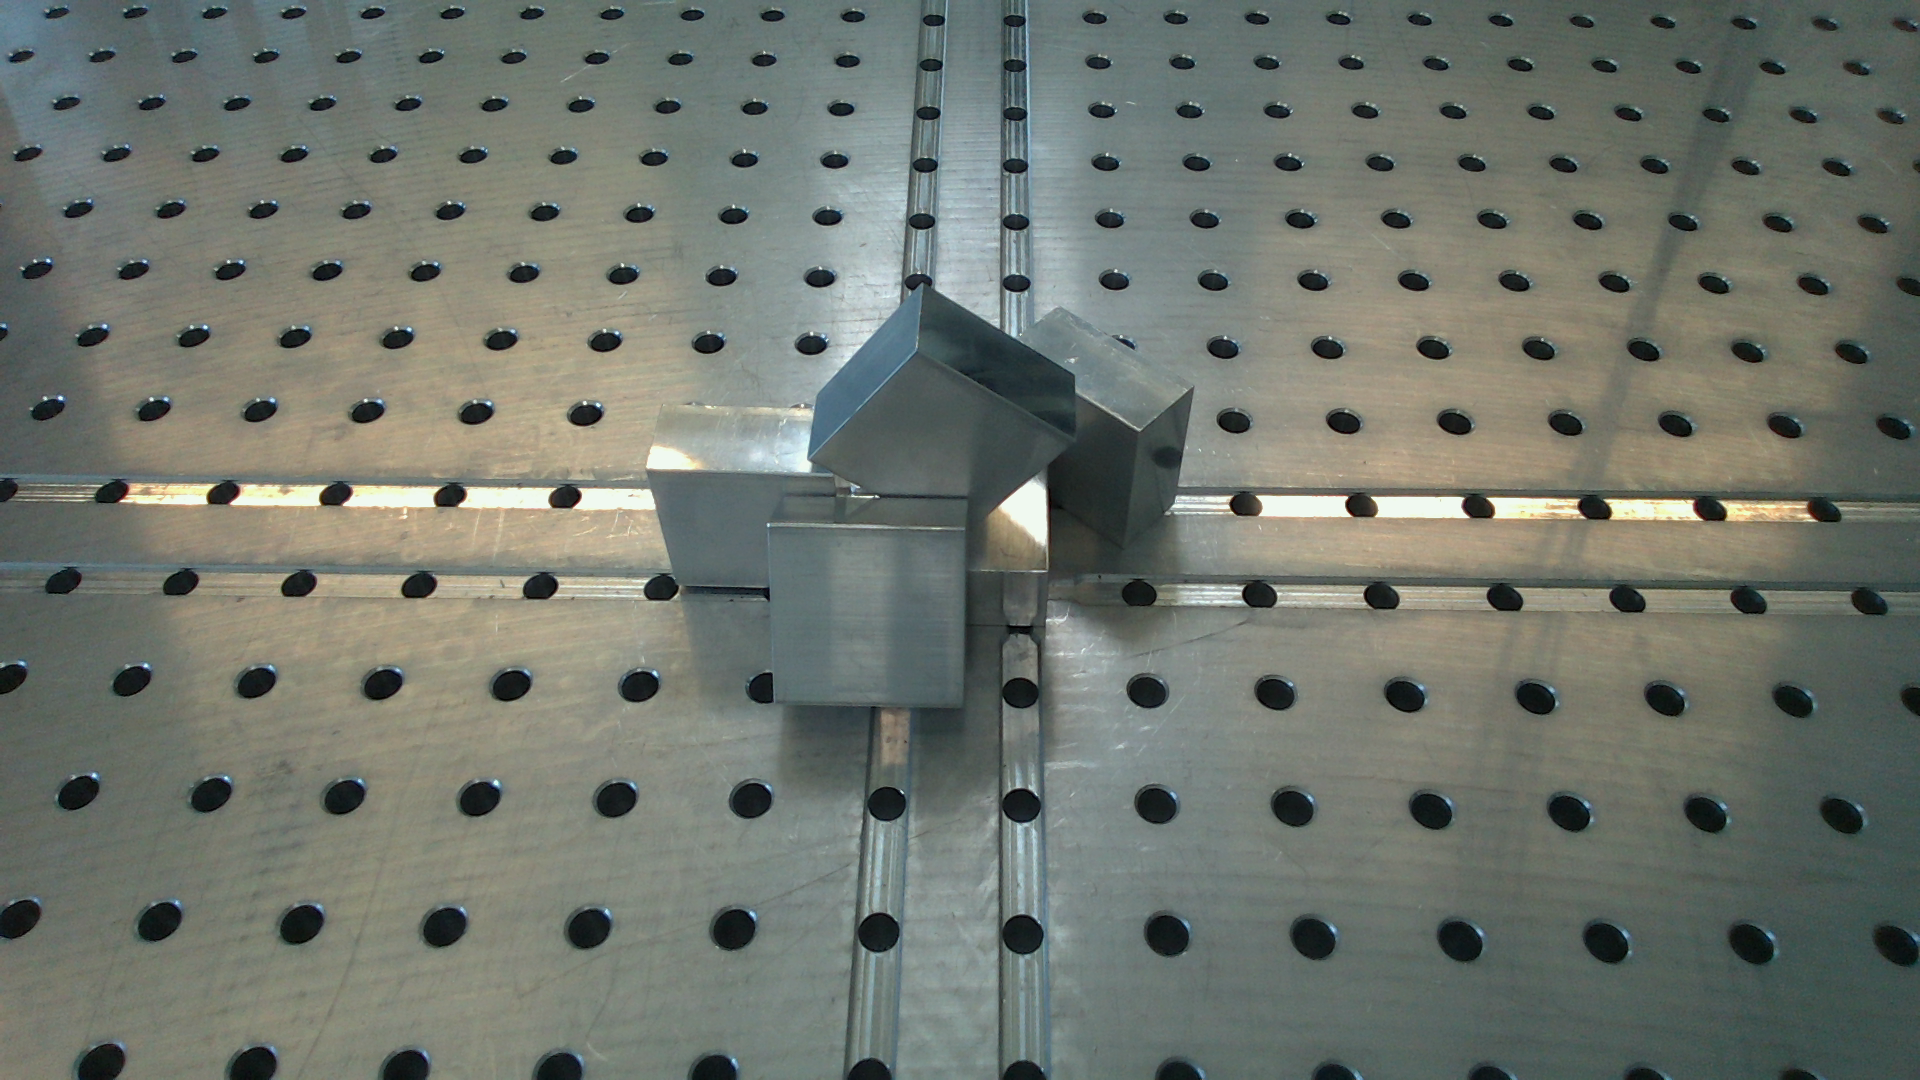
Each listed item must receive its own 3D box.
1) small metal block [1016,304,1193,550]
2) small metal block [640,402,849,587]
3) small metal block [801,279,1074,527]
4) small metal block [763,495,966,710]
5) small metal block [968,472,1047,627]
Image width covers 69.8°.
[{"bbox_3d":[0.038,-0.033,0.406,0.050,0.050,0.025,36,58,26],"label":"small metal block"},{"bbox_3d":[-0.058,-0.012,0.388,0.050,0.050,0.025,1,50,2],"label":"small metal block"},{"bbox_3d":[-0.006,-0.032,0.360,0.050,0.050,0.025,27,45,-26],"label":"small metal block"},{"bbox_3d":[-0.024,0.016,0.361,0.050,0.050,0.025,1,18,1],"label":"small metal block"},{"bbox_3d":[-0.001,-0.003,0.397,0.050,0.025,0.050,2,50,0],"label":"small metal block"}]
